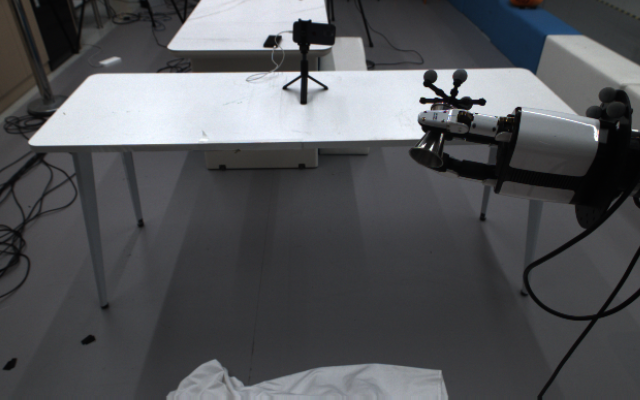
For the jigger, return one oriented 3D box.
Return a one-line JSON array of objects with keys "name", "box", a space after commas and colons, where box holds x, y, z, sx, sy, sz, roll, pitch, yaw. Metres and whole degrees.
[{"name": "jigger", "box": [0.141, -0.083, 0.590, 0.043, 0.043, 0.071, 20, 73, 24]}]
